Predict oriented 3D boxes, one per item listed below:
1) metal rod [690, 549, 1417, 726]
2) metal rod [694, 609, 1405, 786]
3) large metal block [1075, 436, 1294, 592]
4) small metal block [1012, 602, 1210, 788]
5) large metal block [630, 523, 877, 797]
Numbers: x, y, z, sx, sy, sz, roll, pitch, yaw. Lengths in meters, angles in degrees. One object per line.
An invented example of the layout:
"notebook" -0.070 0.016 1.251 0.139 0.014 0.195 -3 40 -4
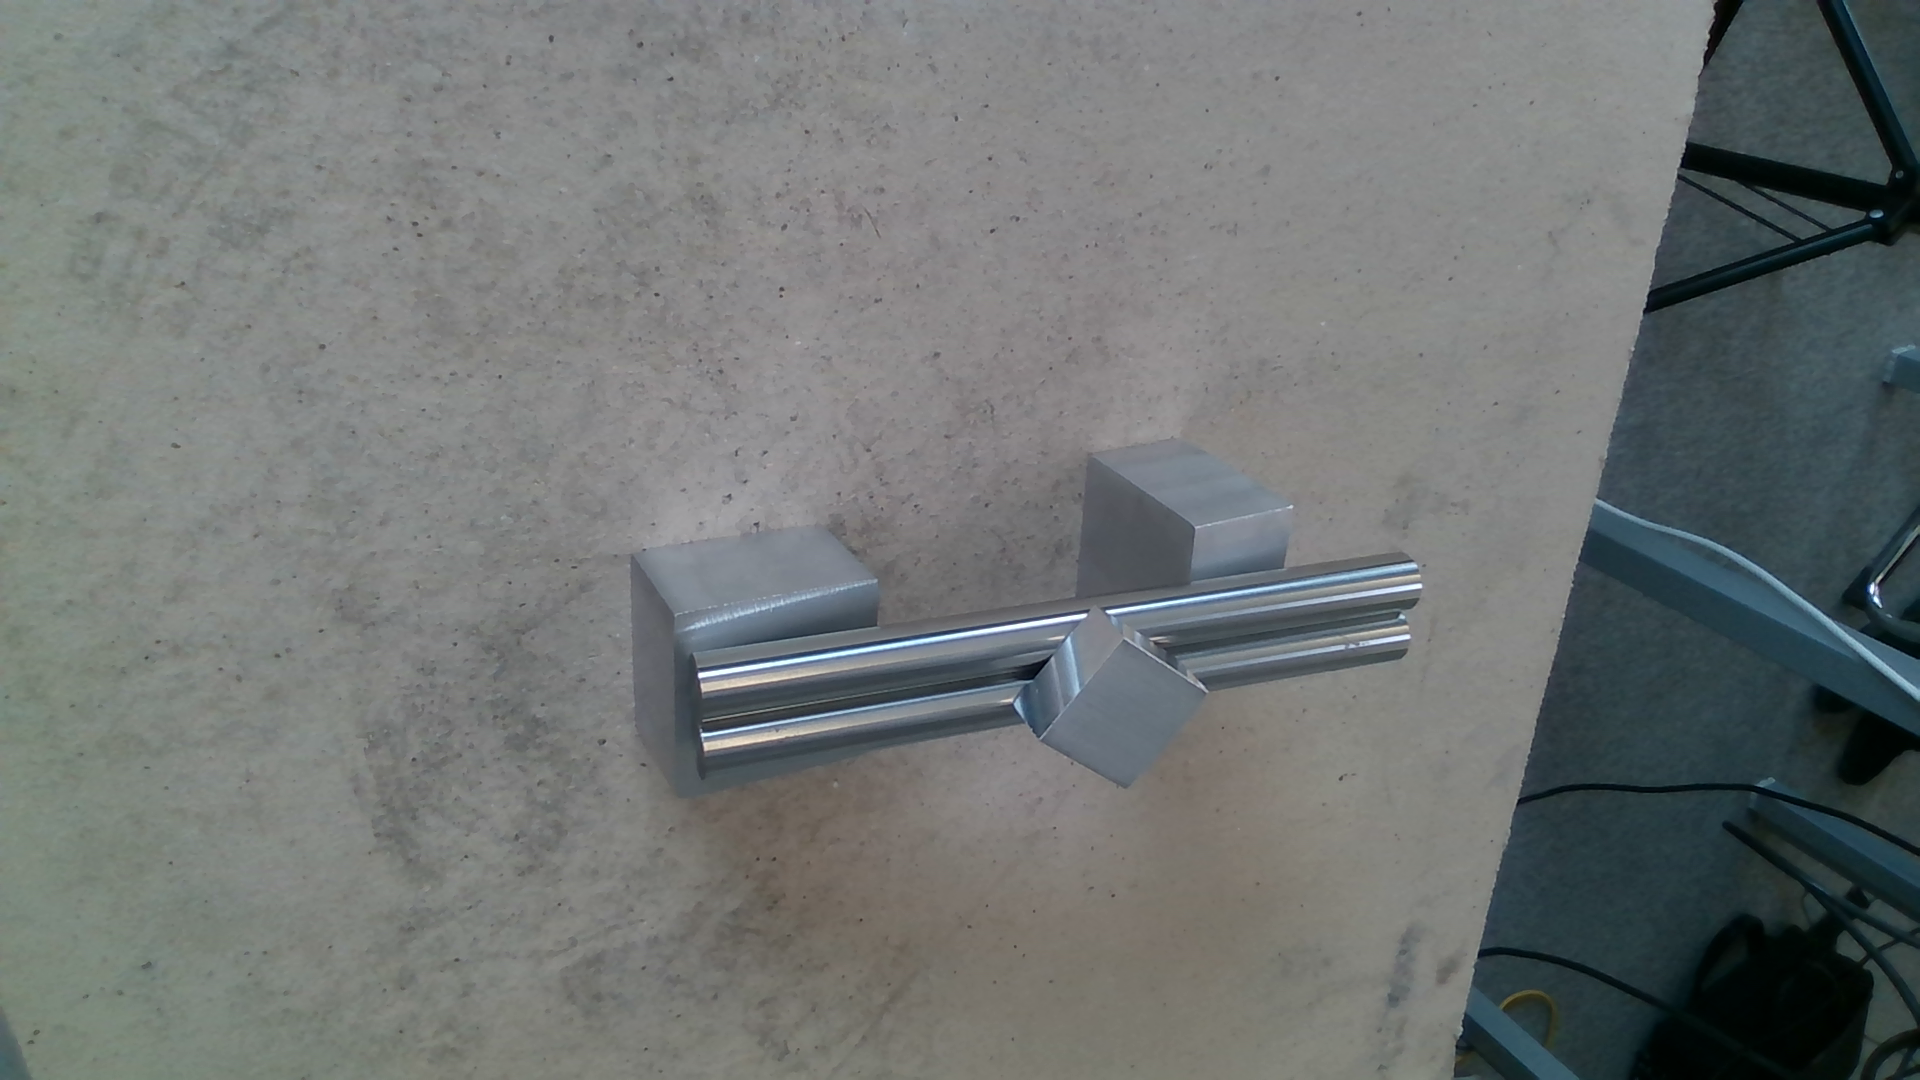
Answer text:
"metal rod" 0.047 0.034 0.535 0.300 0.025 0.025 -8 119 -20
"metal rod" 0.046 0.057 0.546 0.300 0.025 0.025 -8 119 -20
"large metal block" 0.096 0.008 0.609 0.050 0.080 0.080 -11 120 -26
"small metal block" 0.057 0.060 0.523 0.050 0.025 0.050 33 101 -33
"large metal block" -0.081 0.045 0.539 0.080 0.050 0.080 -10 120 -27
